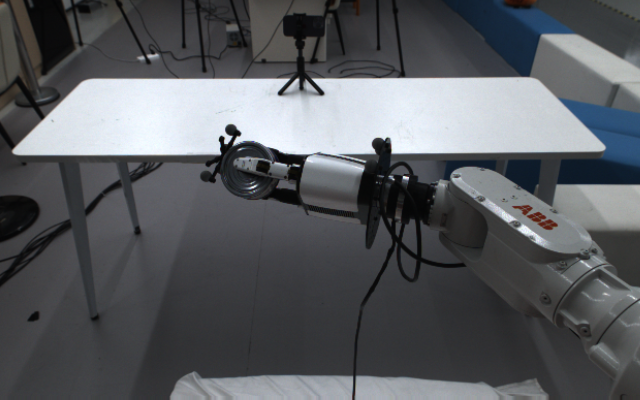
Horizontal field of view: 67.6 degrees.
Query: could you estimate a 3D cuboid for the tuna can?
[{"bbox_3d":[-0.101,-0.041,0.717,0.085,0.085,0.034,9,-3,10],"label":"tuna can"}]
